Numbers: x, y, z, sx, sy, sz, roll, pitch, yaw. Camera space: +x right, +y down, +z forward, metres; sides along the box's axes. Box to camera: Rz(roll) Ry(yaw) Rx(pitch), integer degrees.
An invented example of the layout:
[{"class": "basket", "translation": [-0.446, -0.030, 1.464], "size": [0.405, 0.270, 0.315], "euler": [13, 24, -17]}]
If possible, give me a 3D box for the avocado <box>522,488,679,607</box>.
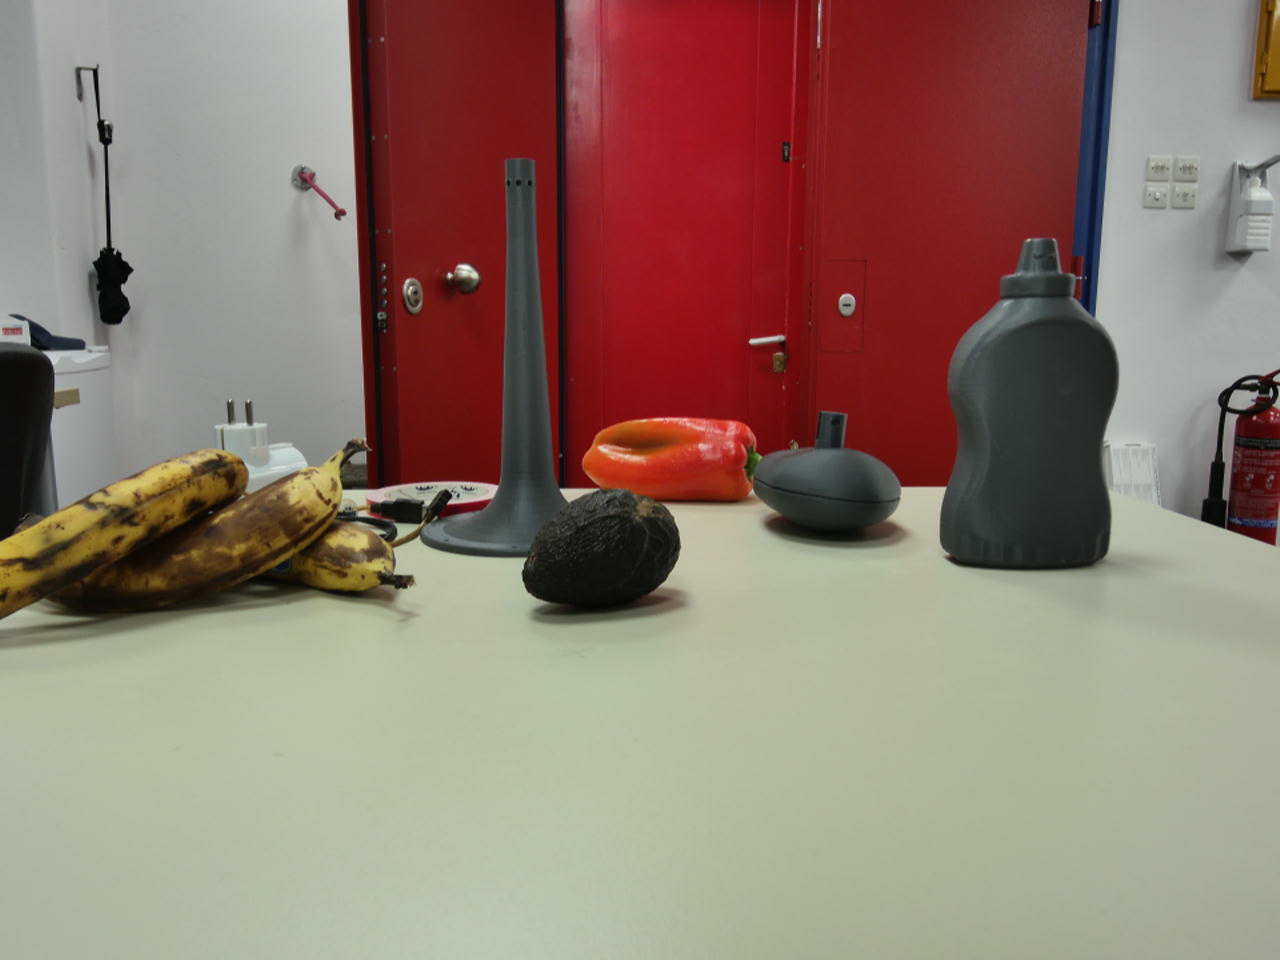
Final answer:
[{"class": "avocado", "translation": [-0.021, 0.036, 0.534], "size": [0.092, 0.062, 0.062], "euler": [-3, 8, -24]}]
